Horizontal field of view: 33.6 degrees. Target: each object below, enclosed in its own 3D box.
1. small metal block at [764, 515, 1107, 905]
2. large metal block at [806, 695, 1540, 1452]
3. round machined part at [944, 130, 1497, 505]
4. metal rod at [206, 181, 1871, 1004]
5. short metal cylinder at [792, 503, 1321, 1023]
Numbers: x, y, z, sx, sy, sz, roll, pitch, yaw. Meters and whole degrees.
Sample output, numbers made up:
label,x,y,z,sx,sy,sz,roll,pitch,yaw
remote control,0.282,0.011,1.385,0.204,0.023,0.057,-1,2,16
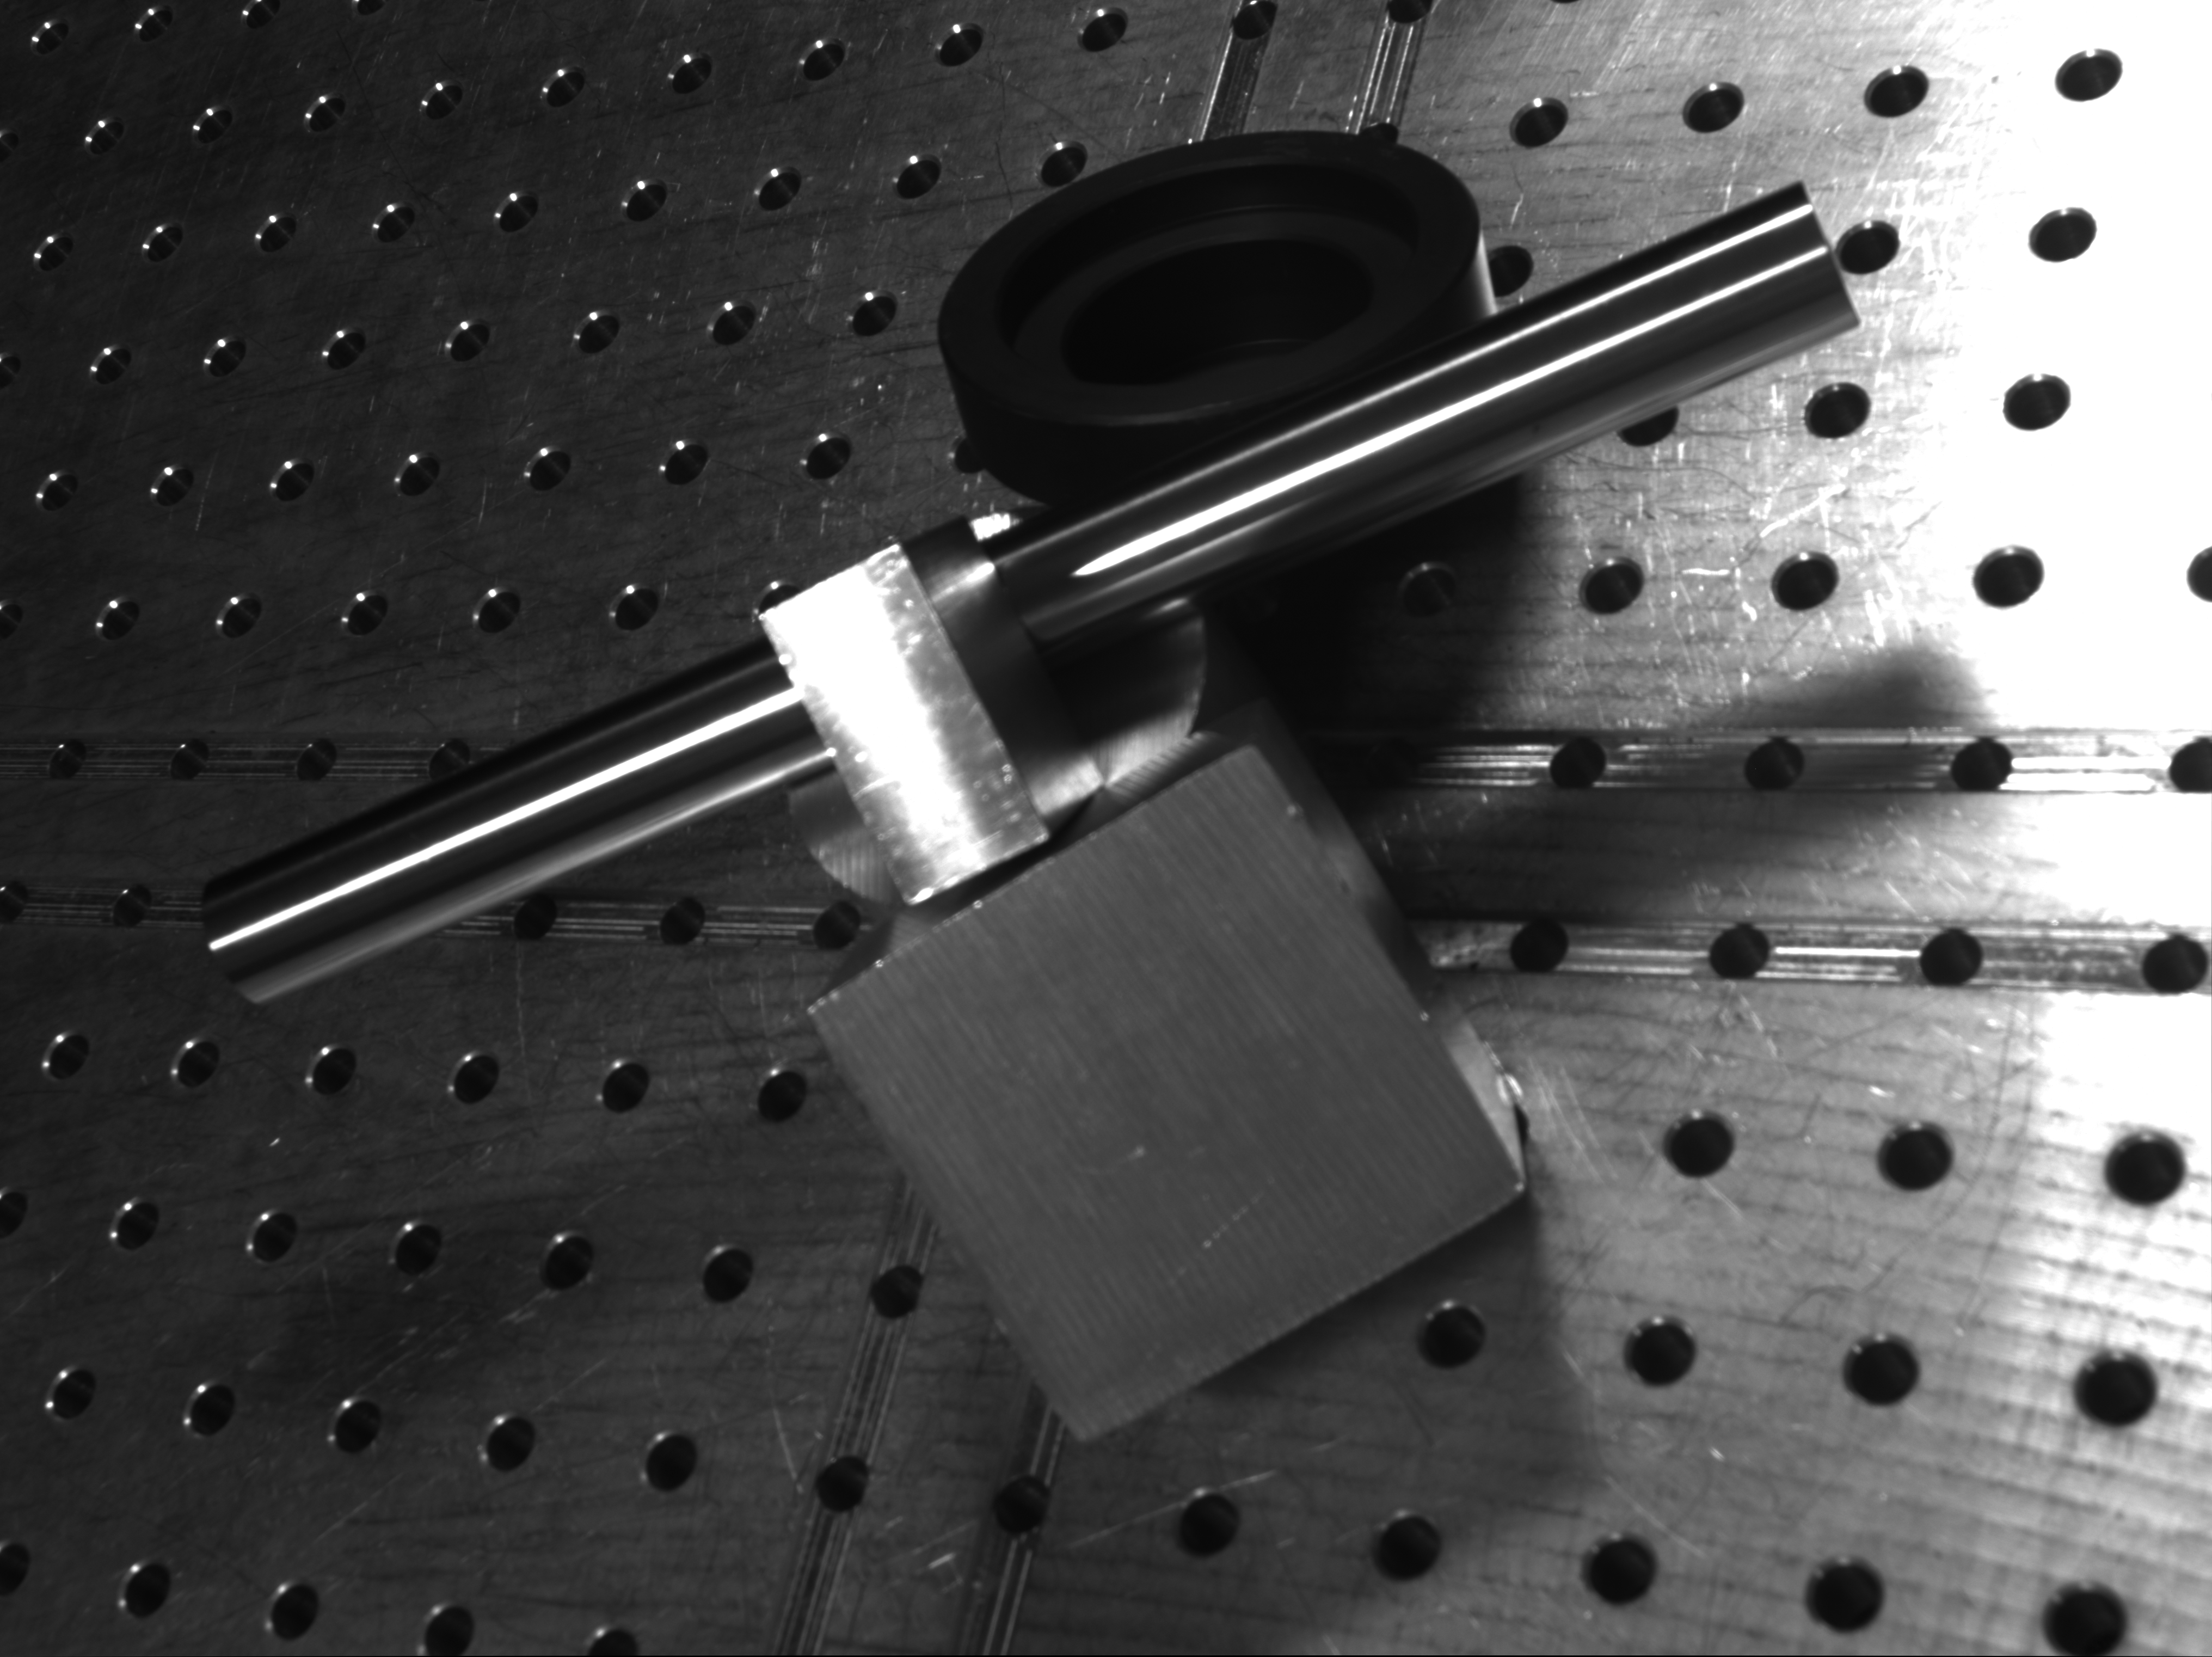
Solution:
label,x,y,z,sx,sy,sz,roll,pitch,yaw
small metal block,-0.026,-0.020,0.578,0.025,0.050,0.050,-26,94,12
large metal block,0.012,0.037,0.572,0.080,0.050,0.080,-31,96,9
round machined part,0.023,-0.083,0.660,0.098,0.042,0.098,-10,37,8
metal rod,-0.019,-0.035,0.614,0.300,0.025,0.025,-22,53,15
short metal cylinder,-0.008,-0.010,0.641,0.080,0.050,0.080,-13,56,21
